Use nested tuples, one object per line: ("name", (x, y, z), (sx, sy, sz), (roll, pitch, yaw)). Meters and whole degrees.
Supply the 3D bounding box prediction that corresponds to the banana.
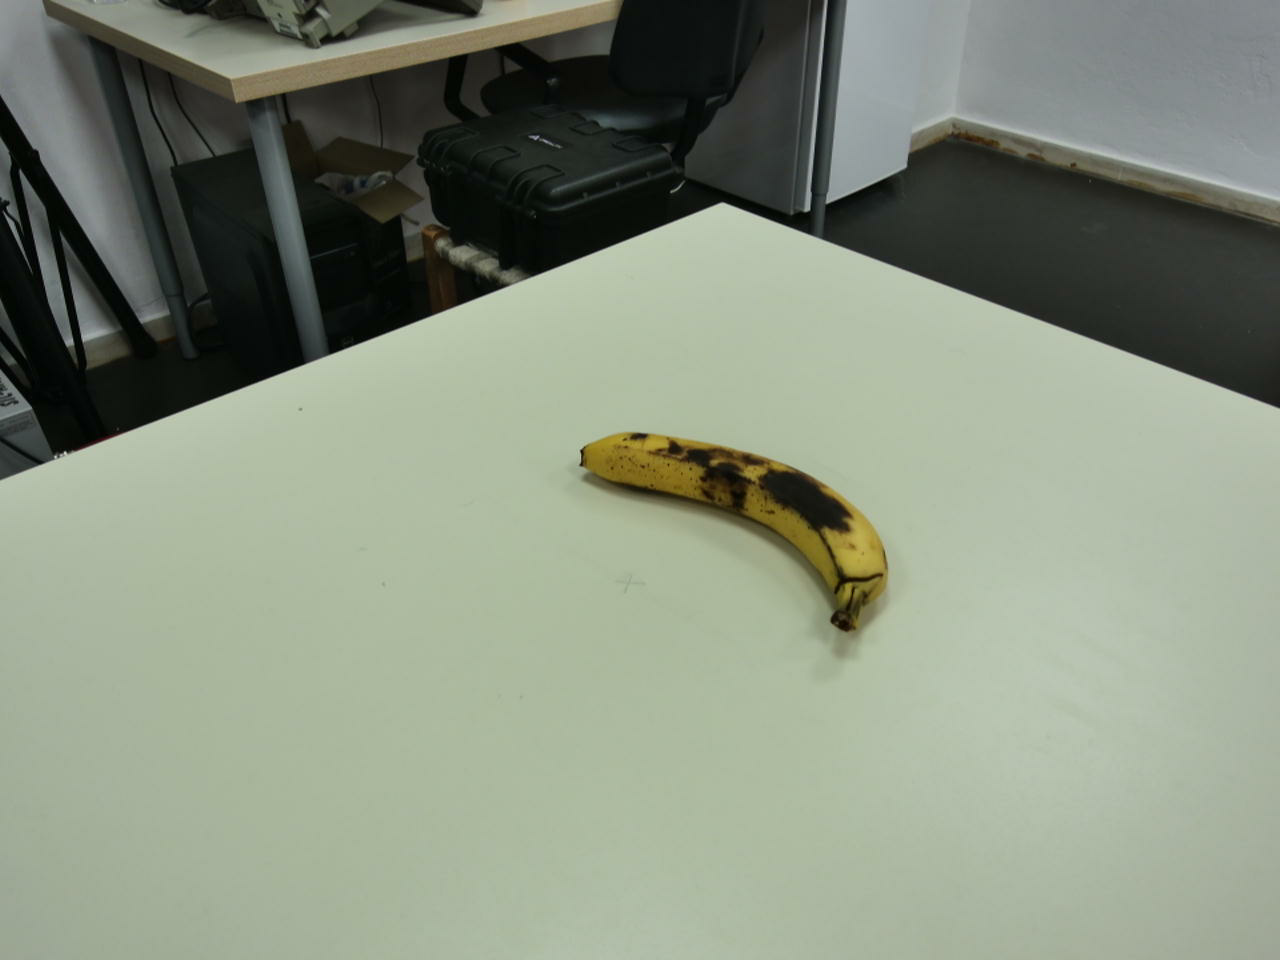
("banana", (0.063, 0.014, 0.595), (0.084, 0.037, 0.222), (-28, 44, -31))
